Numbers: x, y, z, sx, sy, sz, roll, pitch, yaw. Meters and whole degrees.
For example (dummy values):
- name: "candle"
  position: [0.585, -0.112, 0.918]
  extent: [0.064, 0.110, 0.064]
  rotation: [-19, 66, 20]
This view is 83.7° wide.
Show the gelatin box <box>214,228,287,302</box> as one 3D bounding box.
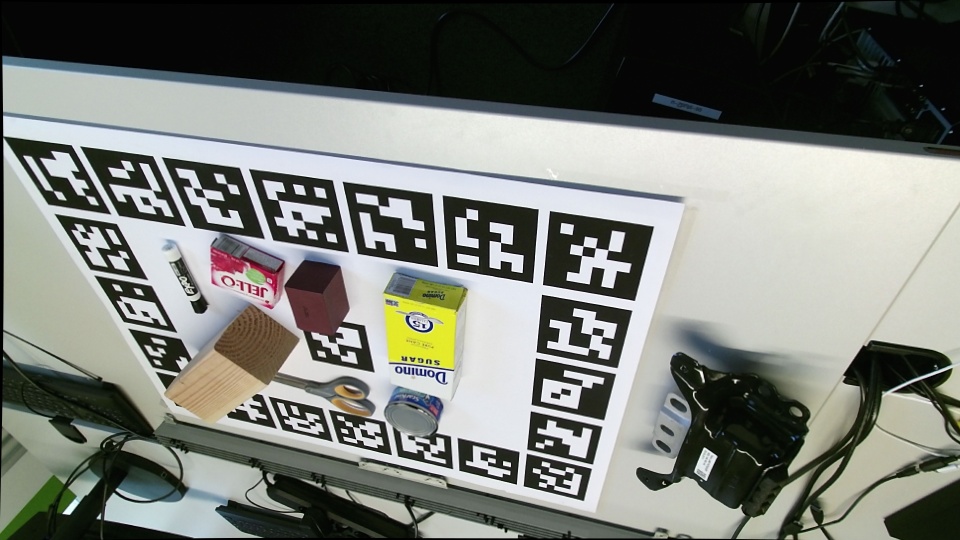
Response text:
- name: "gelatin box"
  position: [-0.305, -0.005, 0.711]
  extent: [0.089, 0.030, 0.073]
  rotation: [24, 129, -2]

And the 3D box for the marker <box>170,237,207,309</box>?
- name: "marker"
  position: [-0.411, 0.008, 0.758]
  extent: [0.020, 0.019, 0.121]
  rotation: [10, 127, 9]

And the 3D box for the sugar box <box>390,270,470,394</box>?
- name: "sugar box"
  position: [-0.068, 0.085, 0.702]
  extent: [0.093, 0.045, 0.176]
  rotation: [13, 130, 8]

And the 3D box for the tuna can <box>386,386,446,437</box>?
- name: "tuna can"
  position: [-0.096, 0.213, 0.812]
  extent: [0.086, 0.033, 0.086]
  rotation: [8, 128, 11]

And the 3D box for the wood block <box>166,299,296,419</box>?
- name: "wood block"
  position: [-0.384, 0.137, 0.812]
  extent: [0.090, 0.090, 0.206]
  rotation: [43, 127, -18]

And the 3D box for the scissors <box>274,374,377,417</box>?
- name: "scissors"
  position: [-0.263, 0.185, 0.857]
  extent: [0.203, 0.016, 0.088]
  rotation: [14, 130, 3]

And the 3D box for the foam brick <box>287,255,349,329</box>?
- name: "foam brick"
  position: [-0.207, 0.028, 0.688]
  extent: [0.053, 0.051, 0.078]
  rotation: [10, 128, 8]
